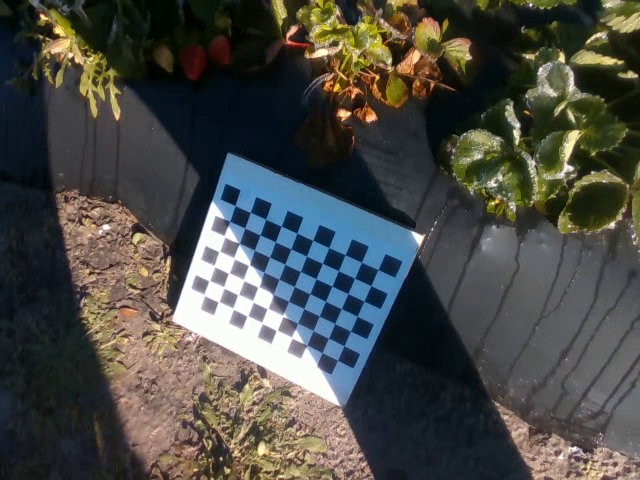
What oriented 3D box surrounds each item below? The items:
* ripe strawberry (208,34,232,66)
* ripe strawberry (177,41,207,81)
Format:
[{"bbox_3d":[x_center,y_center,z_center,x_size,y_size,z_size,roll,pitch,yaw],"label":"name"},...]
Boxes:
[{"bbox_3d":[-0.121,-0.240,0.712,0.036,0.041,0.030,-40,-7,20],"label":"ripe strawberry"},{"bbox_3d":[-0.157,-0.222,0.707,0.036,0.052,0.040,-14,-30,18],"label":"ripe strawberry"}]
